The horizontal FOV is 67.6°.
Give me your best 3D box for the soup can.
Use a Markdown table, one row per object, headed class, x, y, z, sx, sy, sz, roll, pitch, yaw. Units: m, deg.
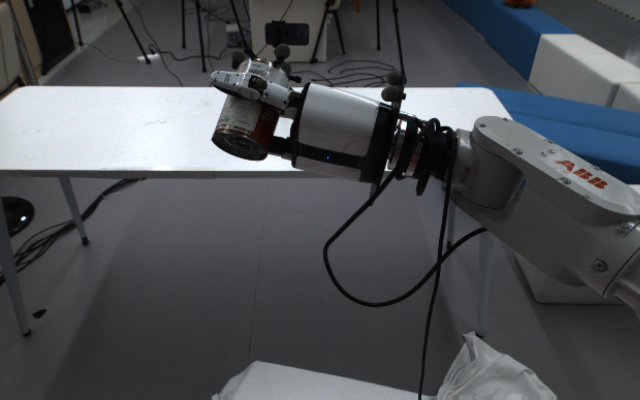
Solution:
| class | x | y | z | sx | sy | sz | roll | pitch | yaw |
| --- | --- | --- | --- | --- | --- | --- | --- | --- | --- |
| soup can | -0.080 | -0.107 | 0.577 | 0.067 | 0.067 | 0.101 | 11 | 72 | 13 |
